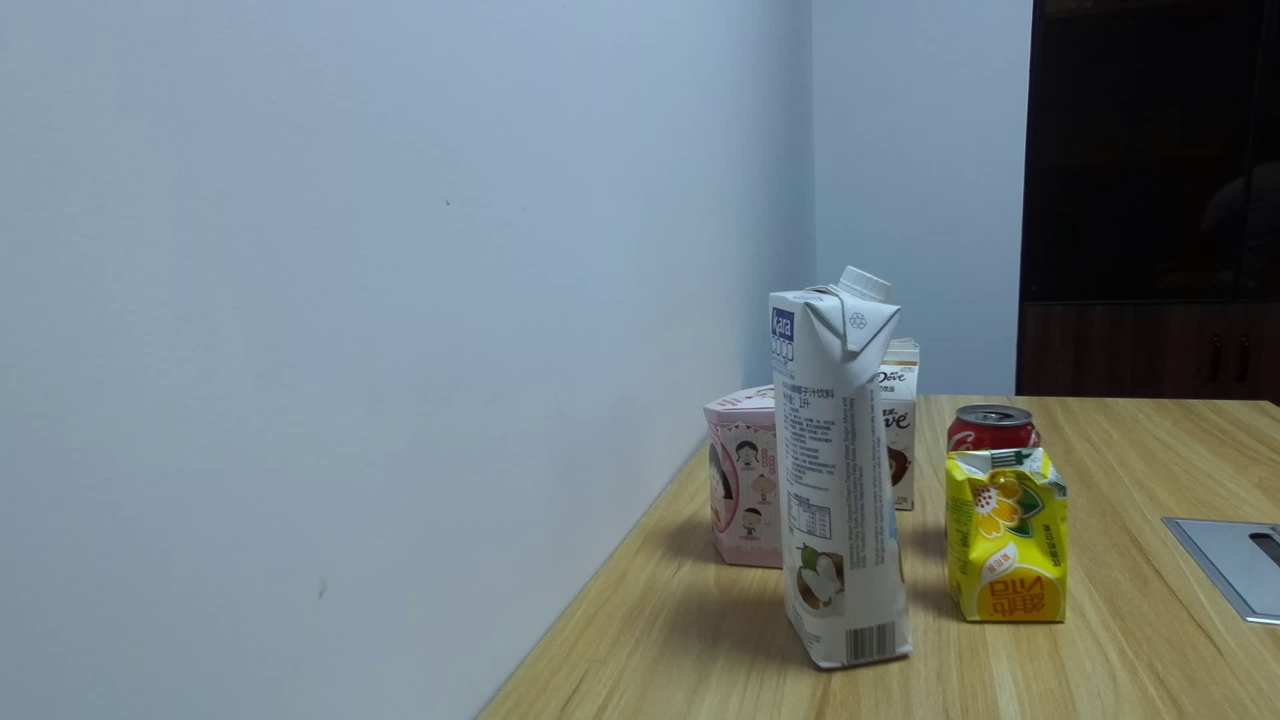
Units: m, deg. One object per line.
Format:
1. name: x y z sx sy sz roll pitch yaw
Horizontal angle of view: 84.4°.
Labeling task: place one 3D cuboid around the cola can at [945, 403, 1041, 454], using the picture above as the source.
1. cola can: 0.284 0.095 0.573 0.068 0.120 0.068 -4 16 2

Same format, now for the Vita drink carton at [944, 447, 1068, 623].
1. Vita drink carton: 0.250 0.120 0.482 0.071 0.109 0.046 -3 9 7

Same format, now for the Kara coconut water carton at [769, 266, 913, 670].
1. Kara coconut water carton: 0.127 0.064 0.451 0.071 0.244 0.099 -6 13 -5

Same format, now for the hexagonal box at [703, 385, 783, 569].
1. hexagonal box: 0.103 0.094 0.589 0.085 0.135 0.092 -6 13 -7
